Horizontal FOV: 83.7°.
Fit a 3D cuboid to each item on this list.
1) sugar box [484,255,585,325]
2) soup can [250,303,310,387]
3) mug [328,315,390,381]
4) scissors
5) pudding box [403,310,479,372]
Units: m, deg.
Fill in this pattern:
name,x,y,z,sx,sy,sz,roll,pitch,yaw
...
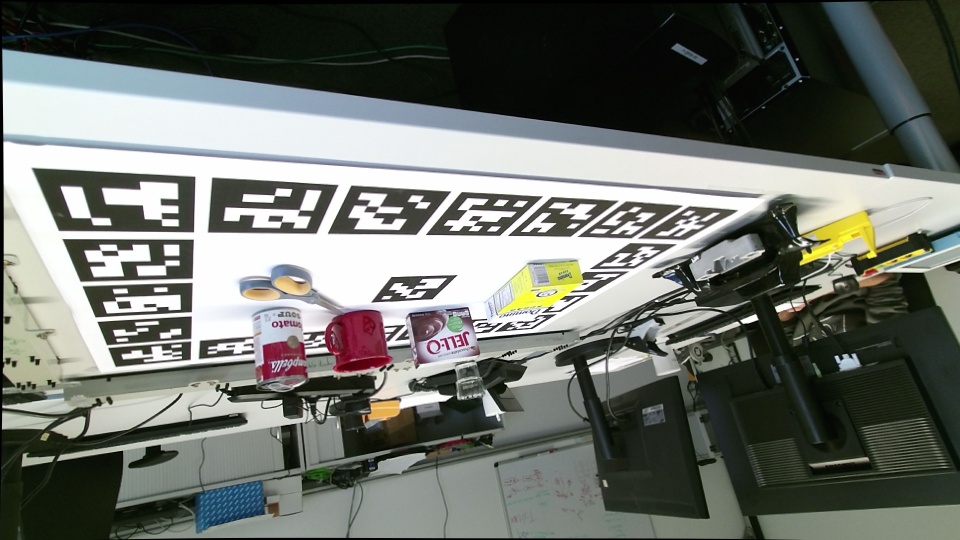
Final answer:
name,x,y,z,sx,sy,sz,roll,pitch,yaw
sugar box,0.085,0.036,0.888,0.093,0.045,0.176,-5,154,-29
soup can,-0.281,0.105,0.752,0.068,0.101,0.068,-14,159,-5
mug,-0.200,0.119,0.842,0.093,0.081,0.117,-19,159,2
scissors,-0.227,0.031,0.702,0.088,0.016,0.203,-27,155,4
pudding box,-0.068,0.122,0.914,0.114,0.089,0.039,-6,149,-22
